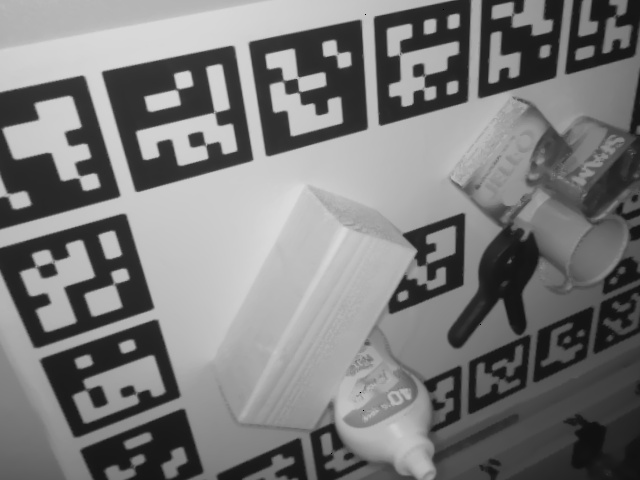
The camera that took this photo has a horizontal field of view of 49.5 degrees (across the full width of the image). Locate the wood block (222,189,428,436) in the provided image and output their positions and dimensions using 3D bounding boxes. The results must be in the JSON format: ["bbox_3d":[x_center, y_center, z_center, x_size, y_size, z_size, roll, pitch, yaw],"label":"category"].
[{"bbox_3d":[0.001,0.071,0.654,0.091,0.090,0.204,18,108,-34],"label":"wood block"}]

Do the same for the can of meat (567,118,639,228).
[{"bbox_3d":[0.316,-0.074,0.729,0.102,0.083,0.058,-44,124,1],"label":"can of meat"}]

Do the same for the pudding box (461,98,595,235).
[{"bbox_3d":[0.213,-0.074,0.712,0.091,0.038,0.113,33,99,-34],"label":"pudding box"}]

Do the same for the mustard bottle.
[{"bbox_3d":[0.074,0.169,0.672,0.097,0.190,0.058,-23,122,-14],"label":"mustard bottle"}]

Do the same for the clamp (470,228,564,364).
[{"bbox_3d":[0.239,0.066,0.801,0.123,0.036,0.164,0,112,-24],"label":"clamp"}]

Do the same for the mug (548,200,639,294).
[{"bbox_3d":[0.310,0.009,0.802,0.094,0.081,0.116,3,112,-26],"label":"mug"}]
